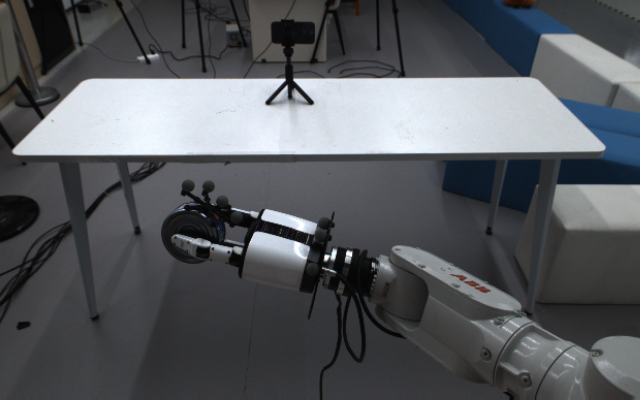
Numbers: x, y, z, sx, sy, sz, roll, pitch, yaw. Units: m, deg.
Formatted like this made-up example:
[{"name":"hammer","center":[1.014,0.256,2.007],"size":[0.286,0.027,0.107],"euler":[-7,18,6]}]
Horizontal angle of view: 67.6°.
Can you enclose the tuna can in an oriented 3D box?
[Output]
[{"name":"tuna can","center":[-0.180,0.048,0.693],"size":[0.085,0.085,0.034],"euler":[6,19,5]}]
